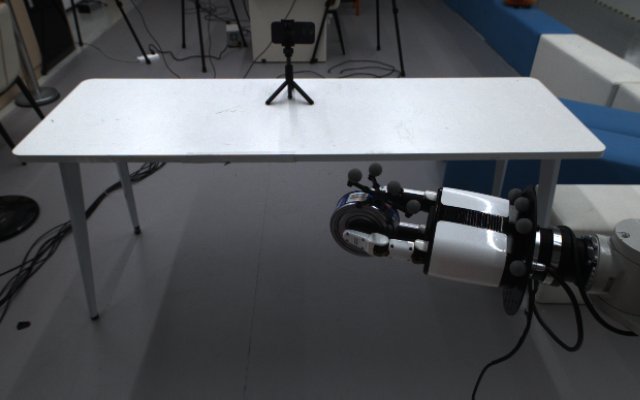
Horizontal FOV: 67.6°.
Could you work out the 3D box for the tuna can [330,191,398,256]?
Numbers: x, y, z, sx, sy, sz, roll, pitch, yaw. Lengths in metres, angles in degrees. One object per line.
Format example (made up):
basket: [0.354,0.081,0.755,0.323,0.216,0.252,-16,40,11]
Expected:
tuna can: [0.060,0.037,0.618,0.085,0.085,0.034,12,35,14]
